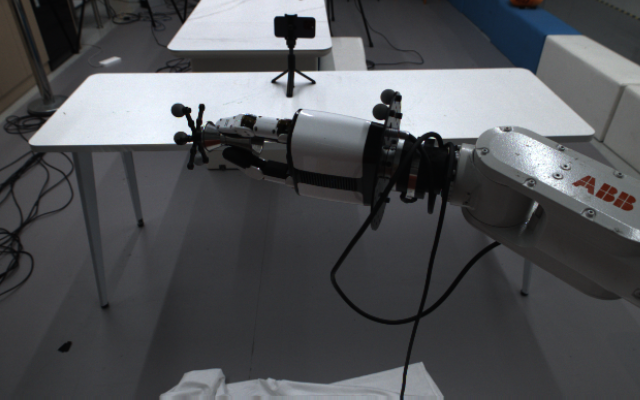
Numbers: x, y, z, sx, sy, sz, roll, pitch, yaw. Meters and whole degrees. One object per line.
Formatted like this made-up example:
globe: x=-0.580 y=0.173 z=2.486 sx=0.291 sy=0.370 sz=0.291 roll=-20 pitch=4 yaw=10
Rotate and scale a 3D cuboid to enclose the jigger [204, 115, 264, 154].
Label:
jigger: x=-0.106 y=-0.083 z=0.614 sx=0.071 sy=0.043 sz=0.043 roll=3 pitch=34 yaw=13
